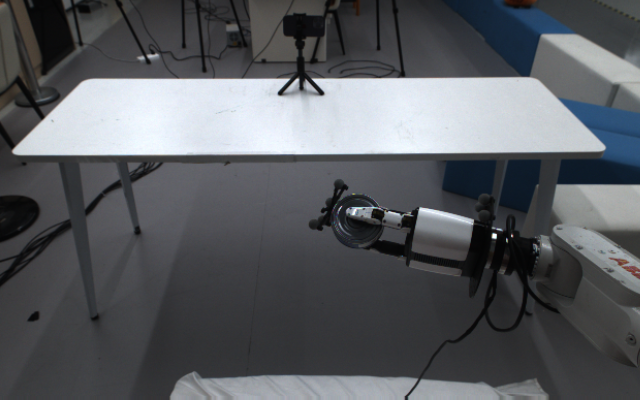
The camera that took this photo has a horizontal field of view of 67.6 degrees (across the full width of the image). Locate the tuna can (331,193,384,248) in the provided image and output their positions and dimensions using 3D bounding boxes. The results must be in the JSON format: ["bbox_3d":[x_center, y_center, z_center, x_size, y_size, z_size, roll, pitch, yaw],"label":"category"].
[{"bbox_3d":[0.063,0.032,0.777,0.085,0.034,0.085,-2,71,6],"label":"tuna can"}]
